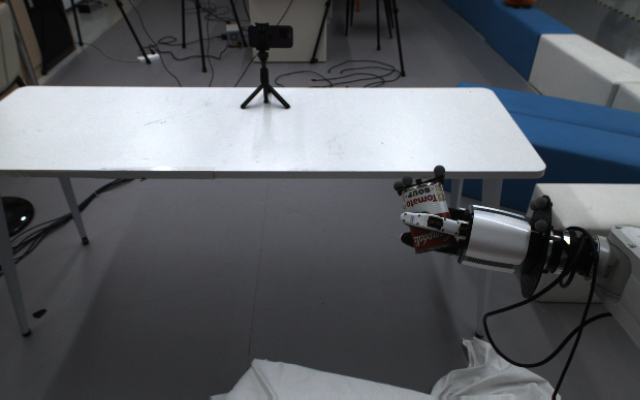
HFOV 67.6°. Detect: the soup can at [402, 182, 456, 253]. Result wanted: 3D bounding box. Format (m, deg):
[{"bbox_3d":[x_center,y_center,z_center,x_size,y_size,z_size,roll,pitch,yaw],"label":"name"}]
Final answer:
[{"bbox_3d":[0.174,0.029,0.770,0.067,0.067,0.101,-10,80,-16],"label":"soup can"}]
